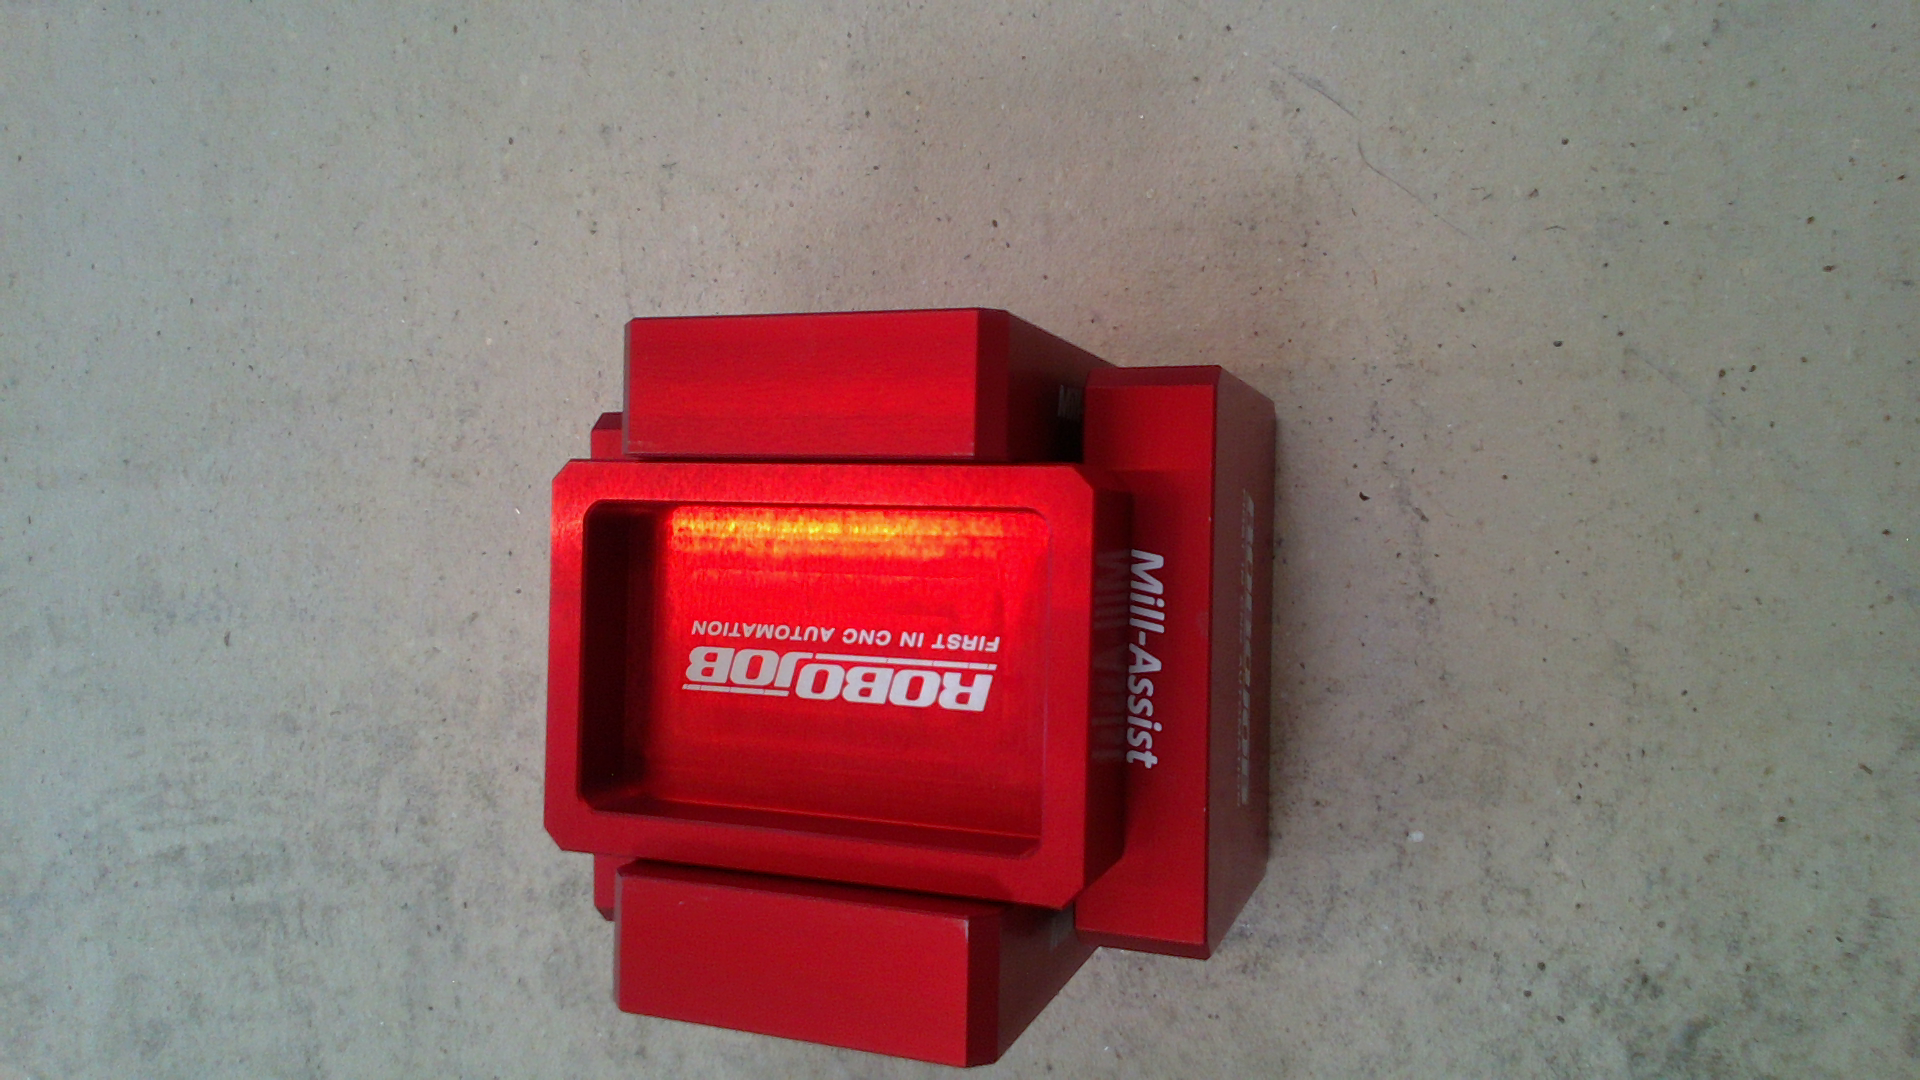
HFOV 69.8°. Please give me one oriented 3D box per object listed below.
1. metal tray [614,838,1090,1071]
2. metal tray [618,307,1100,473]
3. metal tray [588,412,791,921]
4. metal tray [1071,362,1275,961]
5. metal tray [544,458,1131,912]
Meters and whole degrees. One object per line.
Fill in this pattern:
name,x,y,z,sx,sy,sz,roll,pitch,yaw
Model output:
metal tray,-0.013,0.088,0.345,0.090,0.130,0.030,1,91,20
metal tray,-0.012,-0.032,0.344,0.090,0.130,0.030,2,90,20
metal tray,-0.065,0.032,0.385,0.030,0.090,0.130,-1,90,20
metal tray,0.056,0.027,0.341,0.030,0.090,0.130,1,89,21
metal tray,-0.029,0.028,0.308,0.130,0.030,0.090,2,91,20
